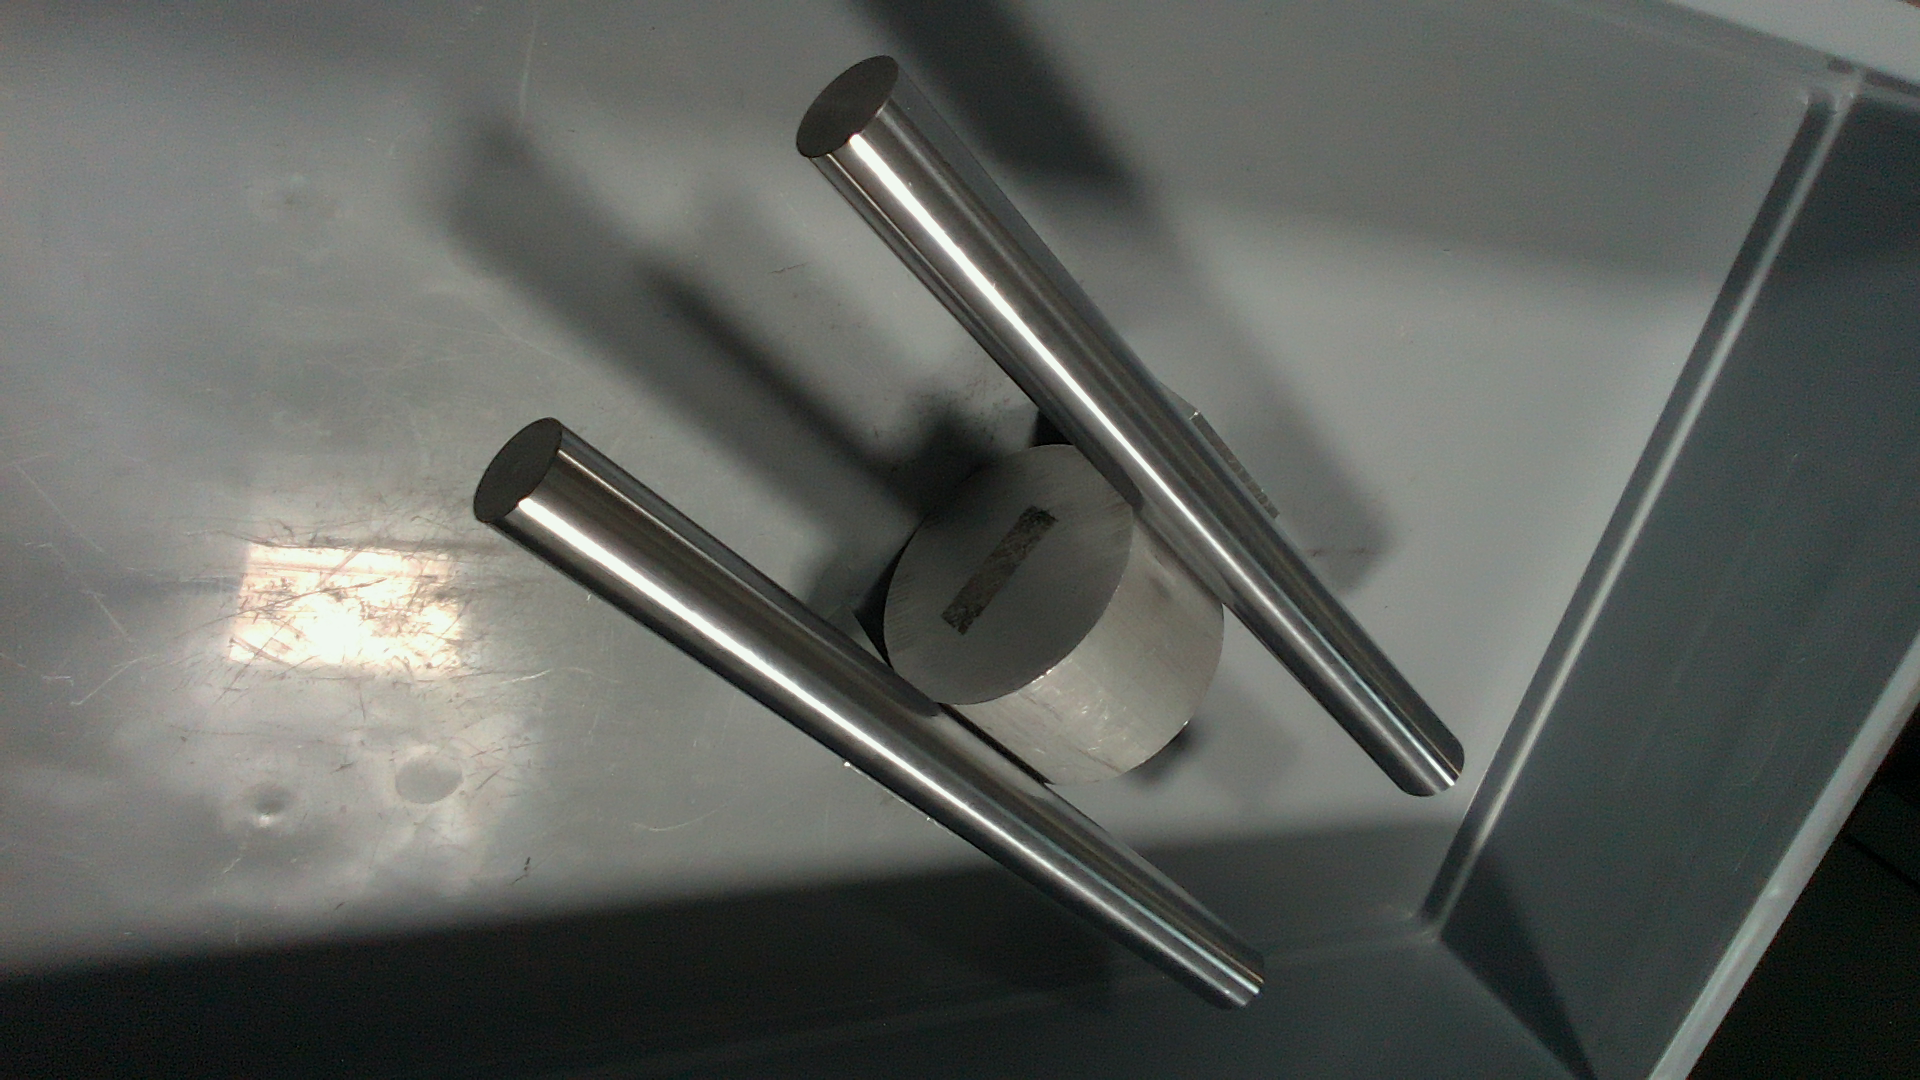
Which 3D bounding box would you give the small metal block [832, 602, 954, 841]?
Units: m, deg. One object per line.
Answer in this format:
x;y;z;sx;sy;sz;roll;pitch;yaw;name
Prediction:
-0.017;0.052;0.394;0.025;0.050;0.050;-45;129;3;small metal block

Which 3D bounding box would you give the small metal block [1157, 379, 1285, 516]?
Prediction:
0.057;-0.024;0.388;0.025;0.050;0.050;-45;129;3;small metal block

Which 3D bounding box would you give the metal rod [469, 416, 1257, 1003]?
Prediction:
0.000;0.064;0.364;0.025;0.025;0.301;-46;129;4;metal rod

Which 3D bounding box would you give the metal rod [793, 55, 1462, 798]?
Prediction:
0.065;-0.005;0.356;0.025;0.025;0.301;-45;129;3;metal rod

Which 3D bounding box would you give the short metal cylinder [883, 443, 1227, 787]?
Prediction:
0.026;0.021;0.379;0.080;0.080;0.050;-45;129;3;short metal cylinder
